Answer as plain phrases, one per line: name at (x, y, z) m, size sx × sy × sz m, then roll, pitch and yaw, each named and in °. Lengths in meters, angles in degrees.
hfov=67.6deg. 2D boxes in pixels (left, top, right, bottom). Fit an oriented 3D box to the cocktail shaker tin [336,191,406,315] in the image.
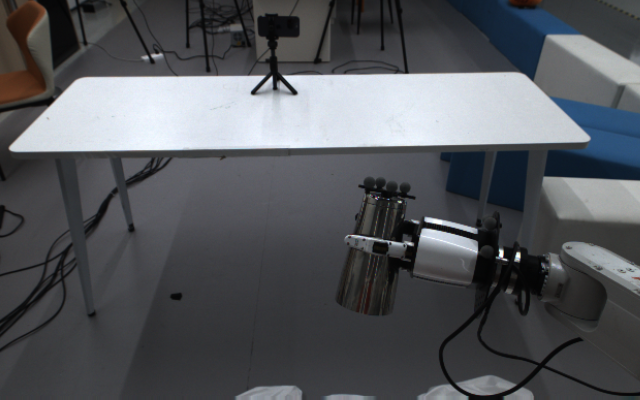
cocktail shaker tin at (0.085, 0.078, 0.741) m, size 0.093 × 0.170 × 0.093 m, roll 10°, pitch 7°, yaw -1°
